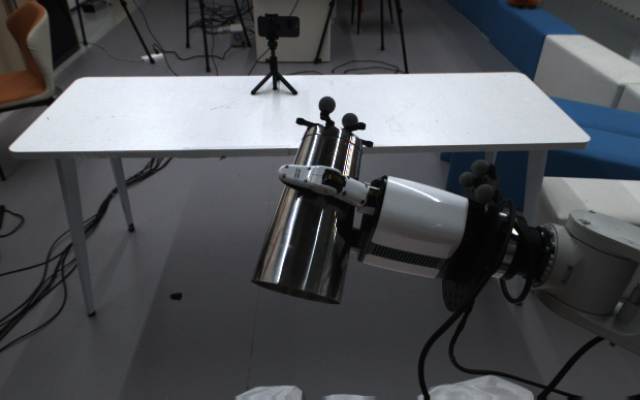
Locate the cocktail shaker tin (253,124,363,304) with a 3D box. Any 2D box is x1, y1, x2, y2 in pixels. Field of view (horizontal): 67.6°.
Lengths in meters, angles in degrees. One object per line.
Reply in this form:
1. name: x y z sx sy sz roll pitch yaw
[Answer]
1. cocktail shaker tin: -0.004 0.014 0.502 0.093 0.093 0.170 11 73 12
